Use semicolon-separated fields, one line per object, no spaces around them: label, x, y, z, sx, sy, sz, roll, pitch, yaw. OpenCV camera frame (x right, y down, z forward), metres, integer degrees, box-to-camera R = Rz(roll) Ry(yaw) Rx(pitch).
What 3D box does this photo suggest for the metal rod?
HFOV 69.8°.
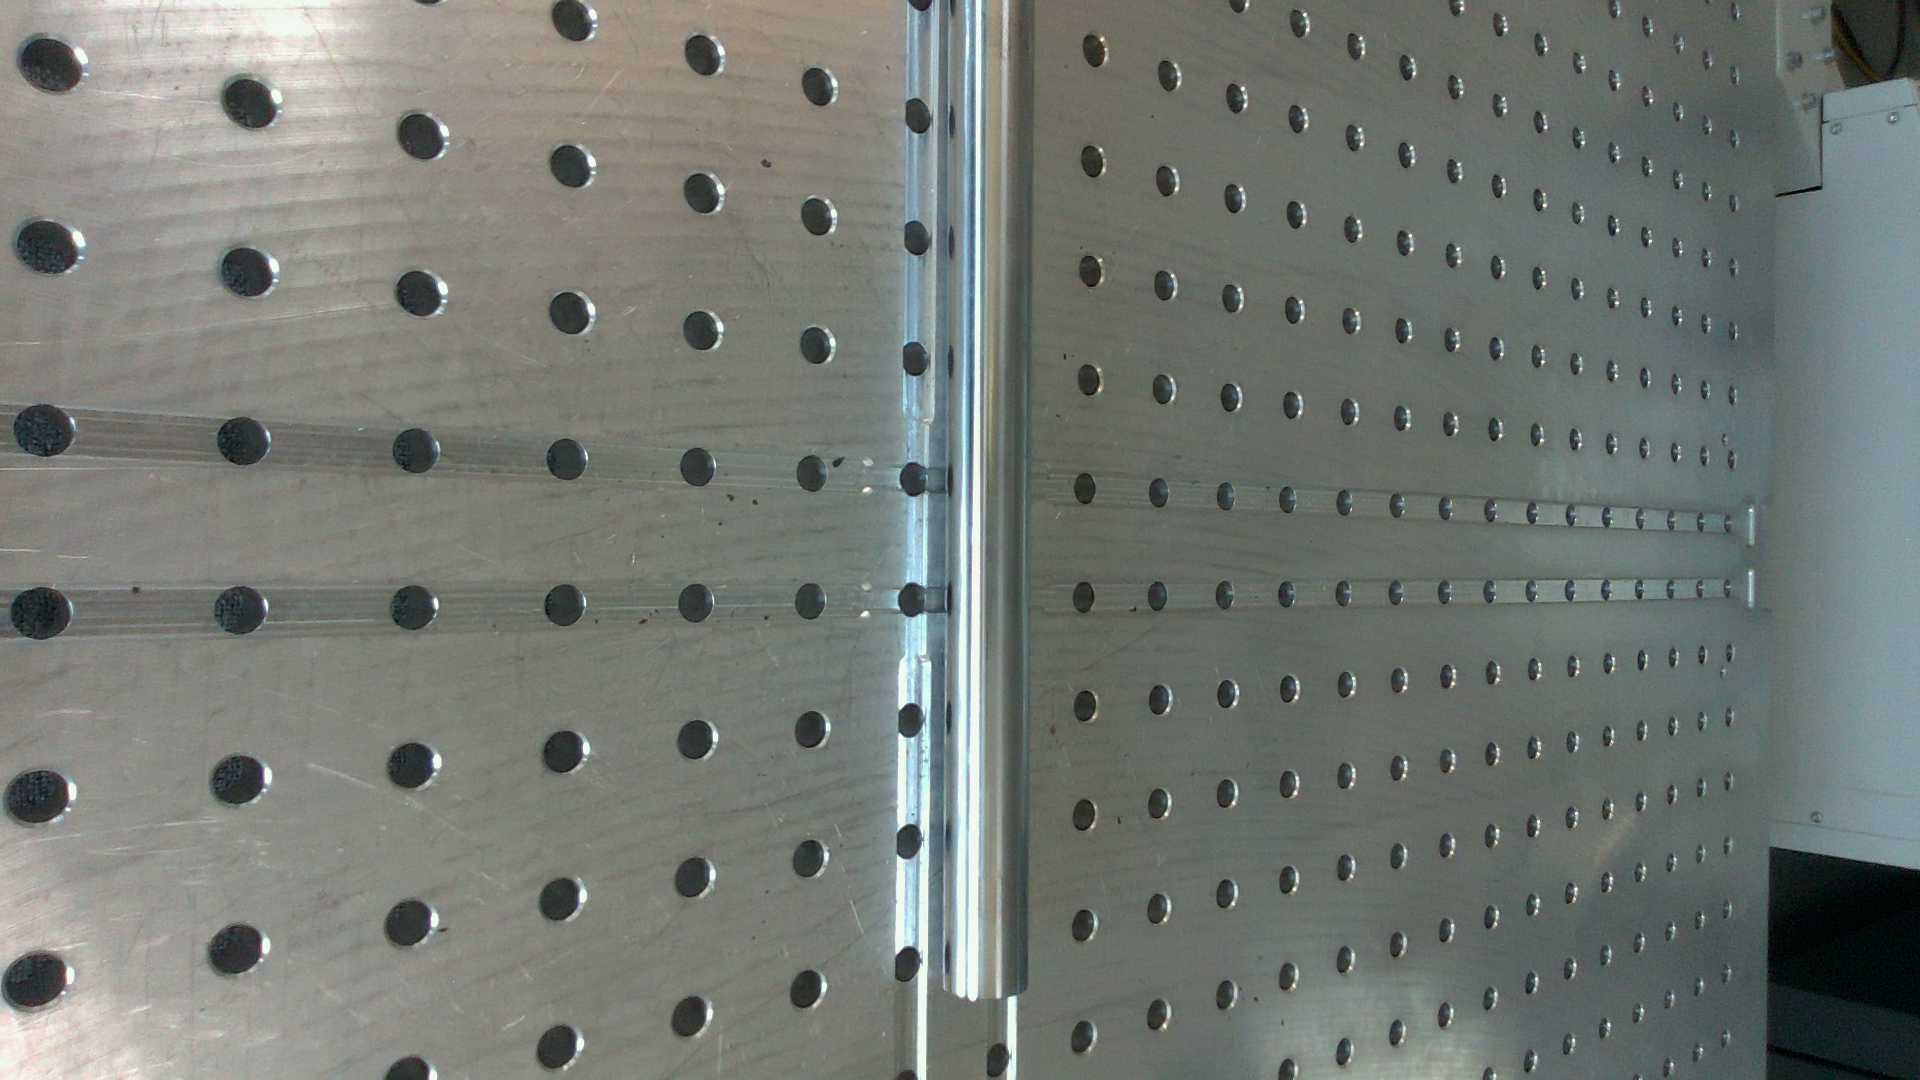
metal rod;0.007;-0.022;0.397;0.025;0.025;0.300;1;90;-40
